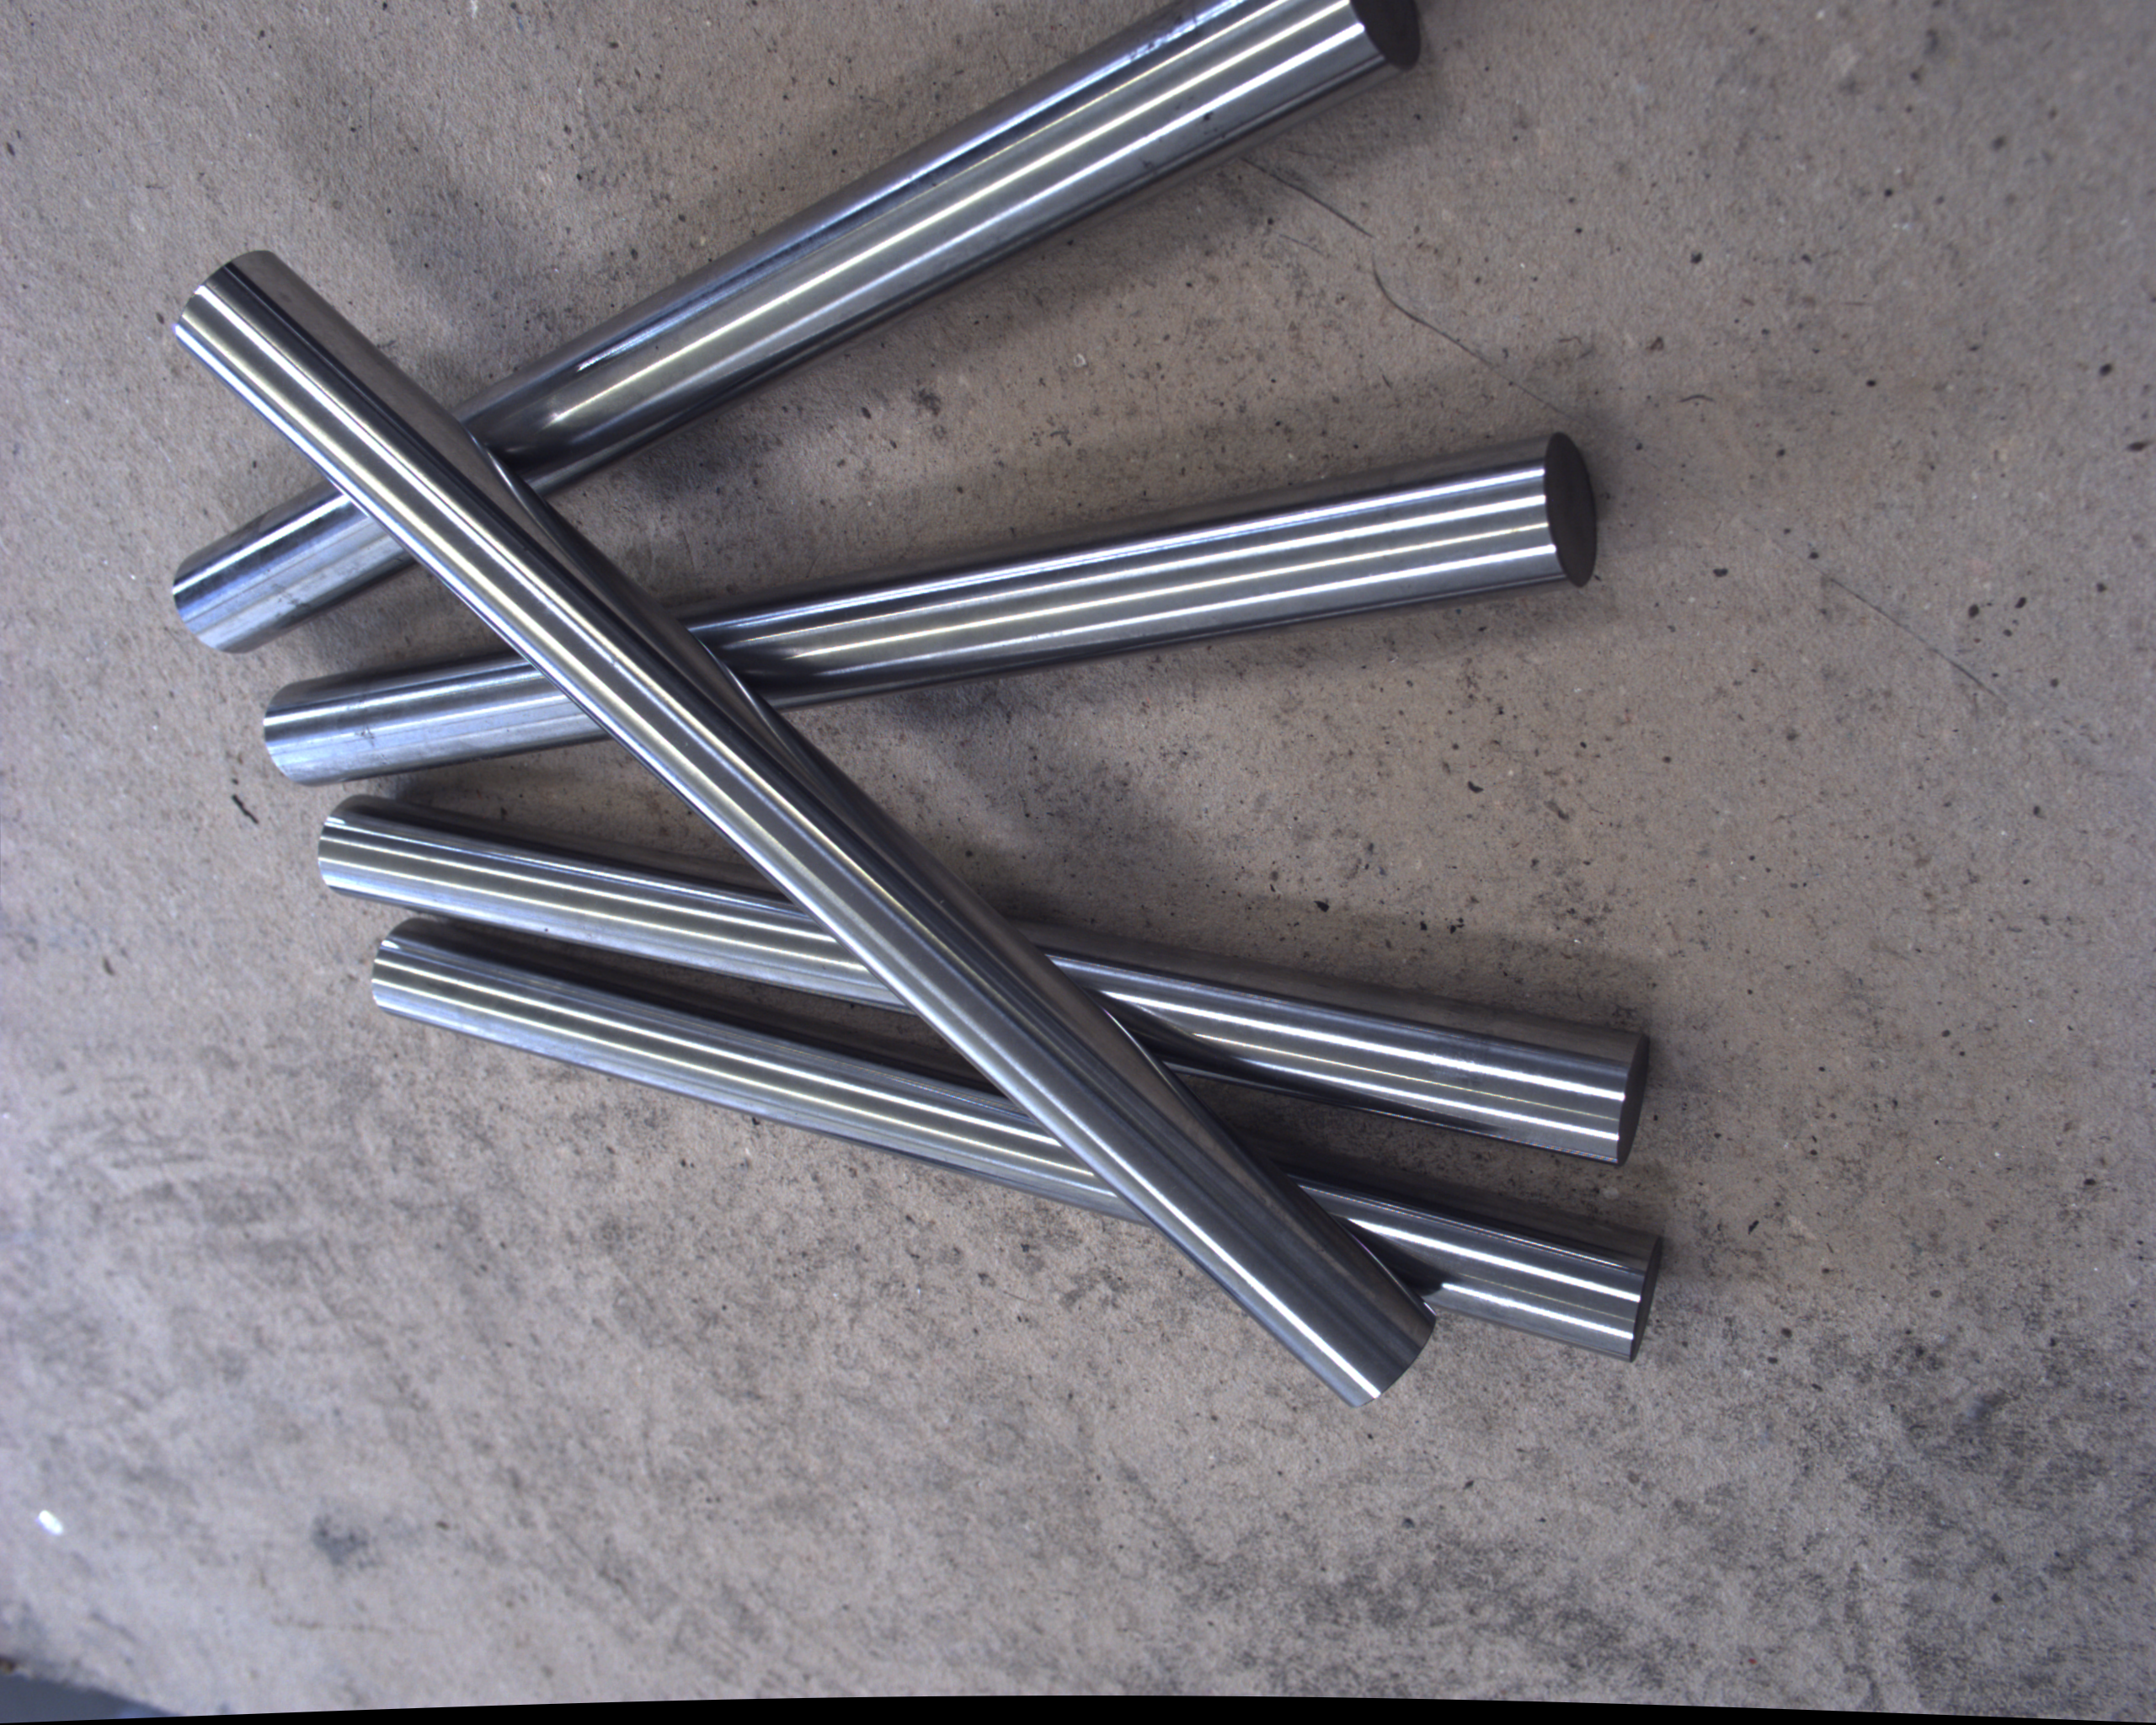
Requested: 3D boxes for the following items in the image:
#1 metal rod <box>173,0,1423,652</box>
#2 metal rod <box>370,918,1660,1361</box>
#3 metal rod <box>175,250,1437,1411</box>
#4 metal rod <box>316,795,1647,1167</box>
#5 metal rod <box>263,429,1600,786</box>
[{"bbox_3d":[-0.075,-0.094,0.390,0.300,0.025,0.025,-16,110,34],"label":"metal rod"},{"bbox_3d":[-0.027,0.055,0.457,0.301,0.025,0.025,12,124,21],"label":"metal rod"},{"bbox_3d":[-0.050,-0.005,0.399,0.300,0.025,0.025,42,129,-1],"label":"metal rod"},{"bbox_3d":[-0.035,0.020,0.439,0.301,0.025,0.025,10,123,22],"label":"metal rod"},{"bbox_3d":[-0.050,-0.043,0.408,0.300,0.025,0.025,-6,116,30],"label":"metal rod"}]
